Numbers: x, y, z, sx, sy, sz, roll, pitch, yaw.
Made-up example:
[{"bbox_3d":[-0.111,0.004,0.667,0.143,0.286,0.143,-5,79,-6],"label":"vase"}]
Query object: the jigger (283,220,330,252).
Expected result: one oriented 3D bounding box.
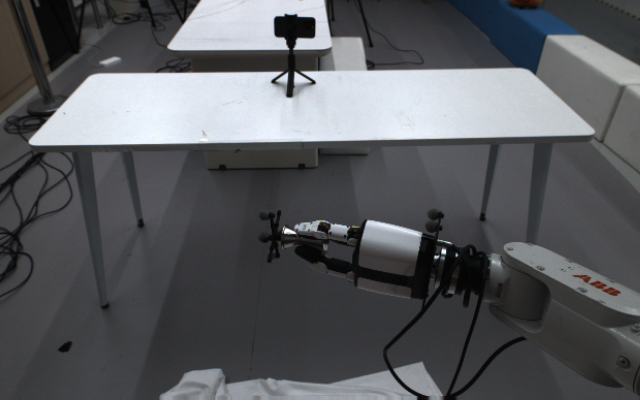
[{"bbox_3d":[-0.016,0.057,0.760,0.071,0.043,0.043,3,34,13],"label":"jigger"}]
